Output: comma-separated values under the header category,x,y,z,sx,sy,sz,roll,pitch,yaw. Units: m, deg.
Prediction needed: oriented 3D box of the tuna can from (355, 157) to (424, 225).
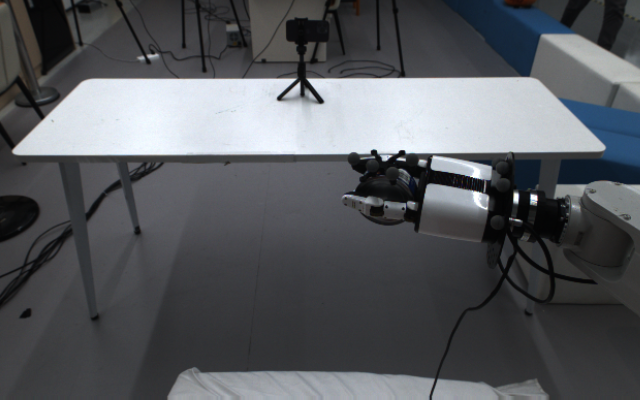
category,x,y,z,sx,sy,sz,roll,pitch,yaw
tuna can,0.096,-0.004,0.679,0.085,0.085,0.034,12,39,13
